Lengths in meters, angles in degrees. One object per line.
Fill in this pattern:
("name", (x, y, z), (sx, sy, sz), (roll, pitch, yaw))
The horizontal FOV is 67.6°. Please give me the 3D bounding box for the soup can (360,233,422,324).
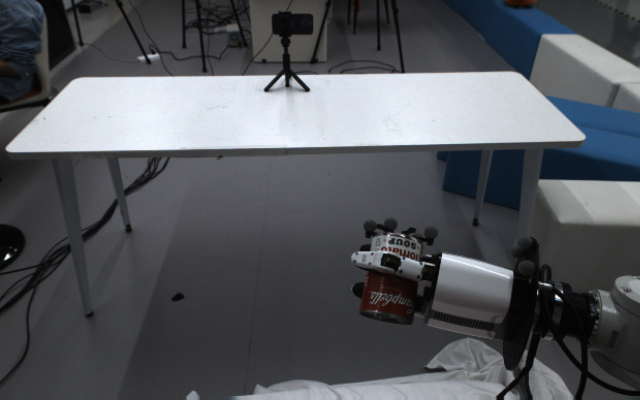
("soup can", (0.092, 0.099, 0.608), (0.067, 0.067, 0.101), (9, 70, 9))
